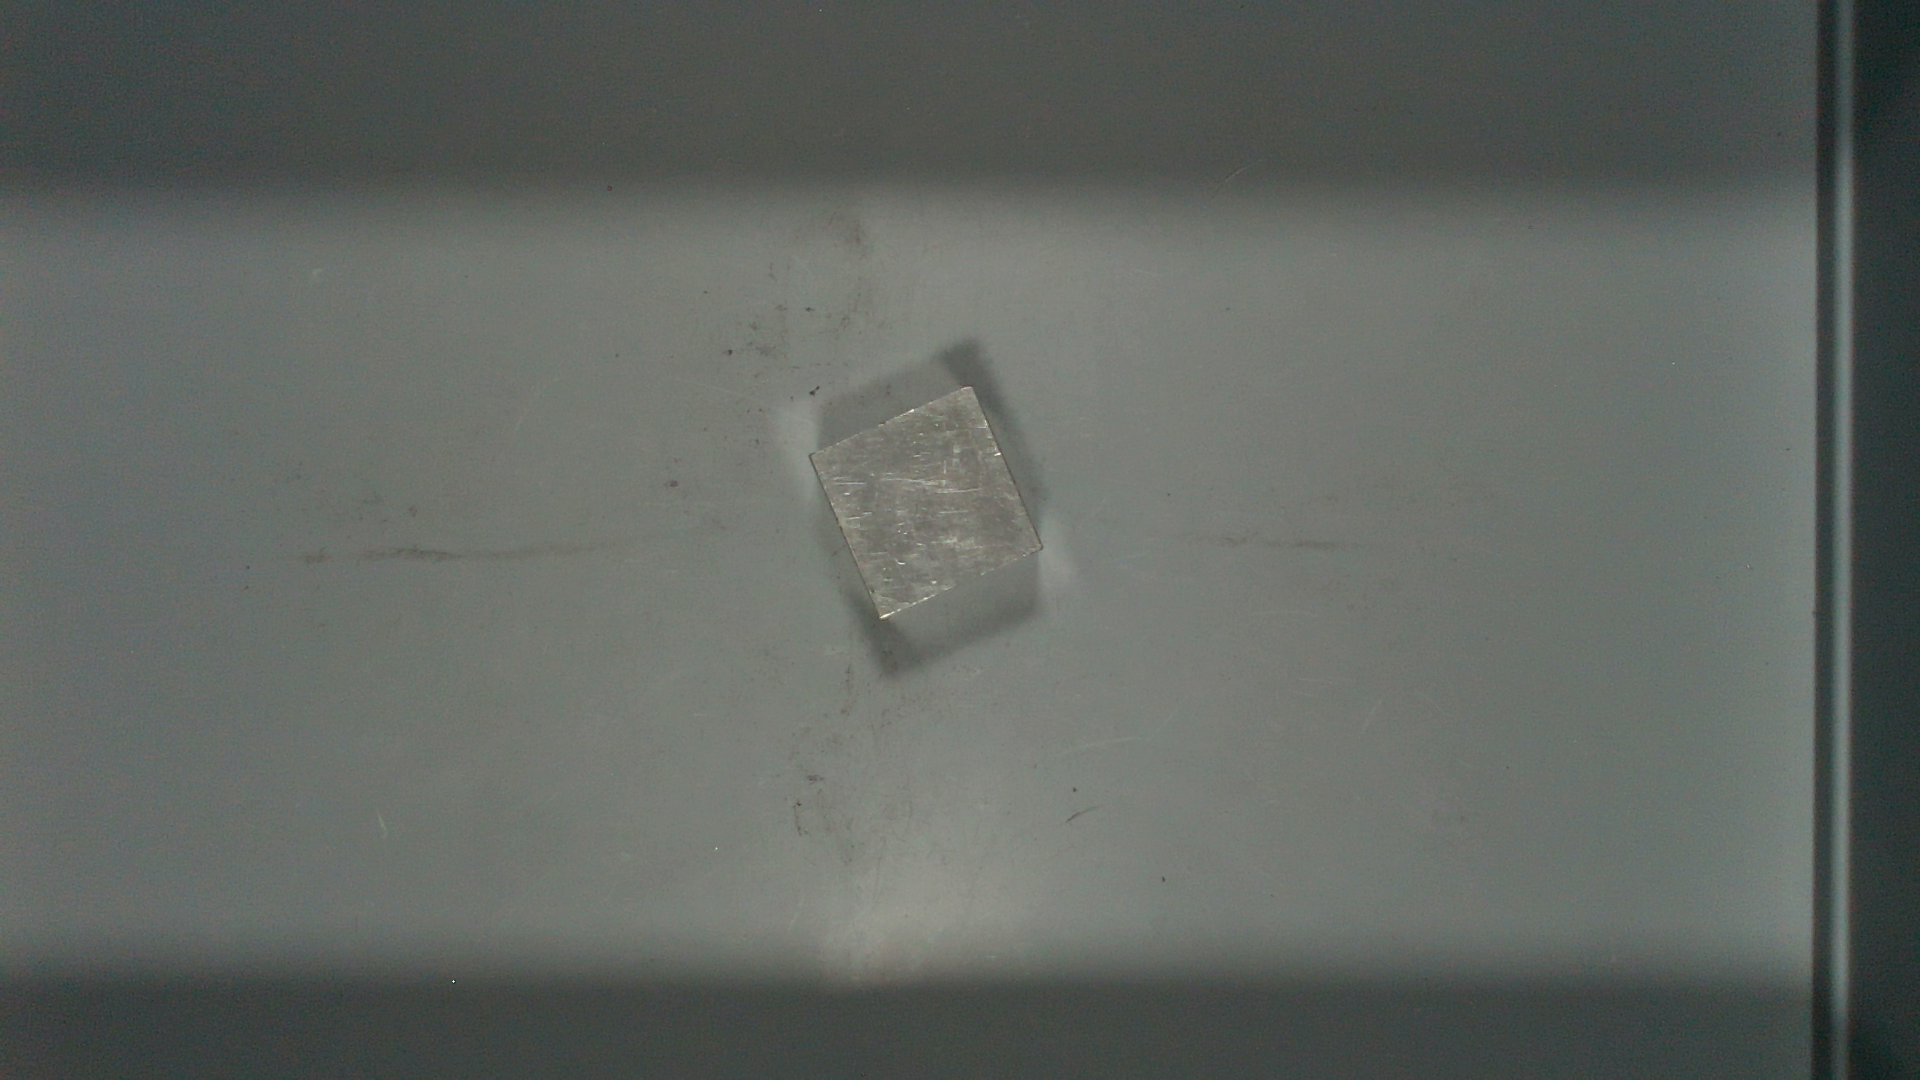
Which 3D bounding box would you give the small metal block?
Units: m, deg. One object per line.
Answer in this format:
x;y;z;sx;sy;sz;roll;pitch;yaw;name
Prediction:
-0.010;-0.011;0.392;0.050;0.025;0.050;-23;90;0;small metal block
